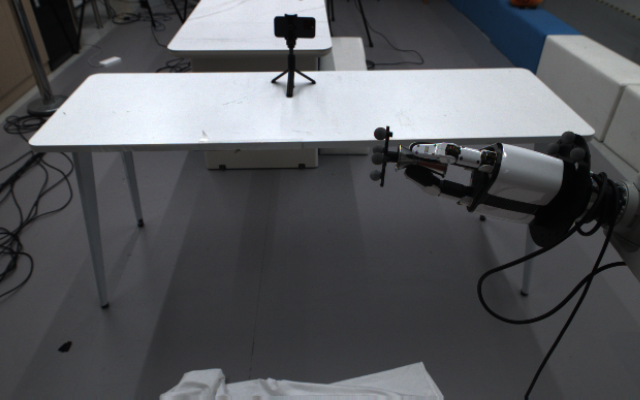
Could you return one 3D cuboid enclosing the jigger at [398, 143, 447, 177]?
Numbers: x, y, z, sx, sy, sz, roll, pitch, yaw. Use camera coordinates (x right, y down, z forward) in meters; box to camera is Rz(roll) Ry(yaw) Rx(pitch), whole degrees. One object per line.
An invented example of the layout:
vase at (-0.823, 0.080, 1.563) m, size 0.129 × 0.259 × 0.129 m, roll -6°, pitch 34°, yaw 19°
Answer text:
jigger at (0.150, -0.062, 0.686) m, size 0.071 × 0.043 × 0.043 m, roll 5°, pitch 35°, yaw 4°
